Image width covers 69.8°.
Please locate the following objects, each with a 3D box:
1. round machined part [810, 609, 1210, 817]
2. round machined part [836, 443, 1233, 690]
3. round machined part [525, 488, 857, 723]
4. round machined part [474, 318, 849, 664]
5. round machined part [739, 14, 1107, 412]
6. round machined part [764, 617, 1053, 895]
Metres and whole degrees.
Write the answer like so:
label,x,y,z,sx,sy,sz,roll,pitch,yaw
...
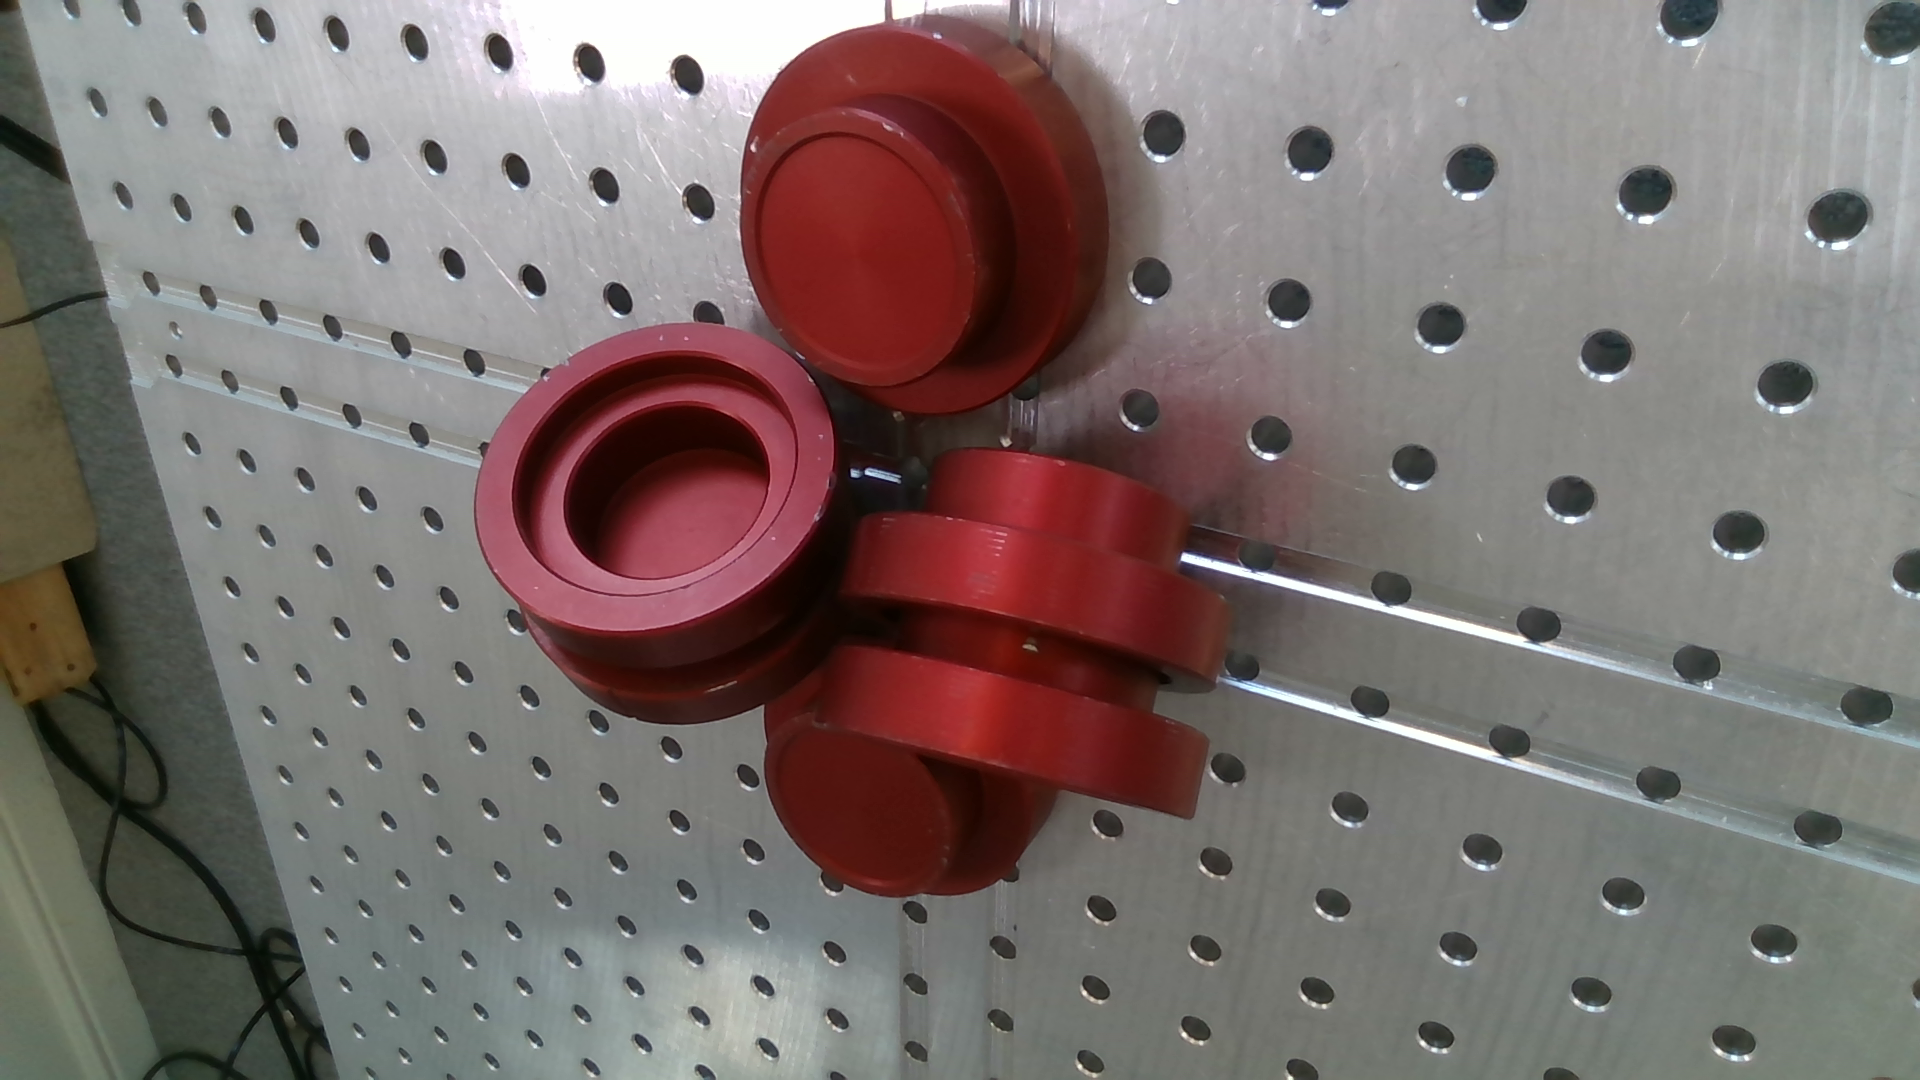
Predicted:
label,x,y,z,sx,sy,sz,roll,pitch,yaw
round machined part,0.014,0.038,0.347,0.098,0.098,0.042,9,79,28
round machined part,0.021,0.006,0.350,0.098,0.098,0.042,9,79,28
round machined part,-0.076,0.009,0.408,0.098,0.098,0.042,23,157,19
round machined part,-0.079,-0.010,0.381,0.098,0.098,0.042,23,157,19
round machined part,-0.016,-0.078,0.347,0.098,0.042,0.098,14,122,25
round machined part,-0.022,0.071,0.433,0.098,0.042,0.098,14,122,25
